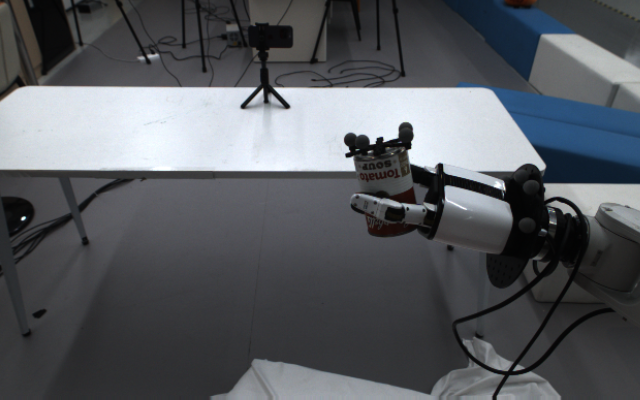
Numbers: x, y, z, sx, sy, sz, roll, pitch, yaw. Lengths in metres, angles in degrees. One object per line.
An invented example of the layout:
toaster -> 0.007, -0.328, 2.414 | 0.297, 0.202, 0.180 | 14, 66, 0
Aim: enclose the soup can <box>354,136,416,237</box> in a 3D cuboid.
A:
soup can -> 0.085, -0.014, 0.602 | 0.067, 0.101, 0.067 | -12, 17, 4
